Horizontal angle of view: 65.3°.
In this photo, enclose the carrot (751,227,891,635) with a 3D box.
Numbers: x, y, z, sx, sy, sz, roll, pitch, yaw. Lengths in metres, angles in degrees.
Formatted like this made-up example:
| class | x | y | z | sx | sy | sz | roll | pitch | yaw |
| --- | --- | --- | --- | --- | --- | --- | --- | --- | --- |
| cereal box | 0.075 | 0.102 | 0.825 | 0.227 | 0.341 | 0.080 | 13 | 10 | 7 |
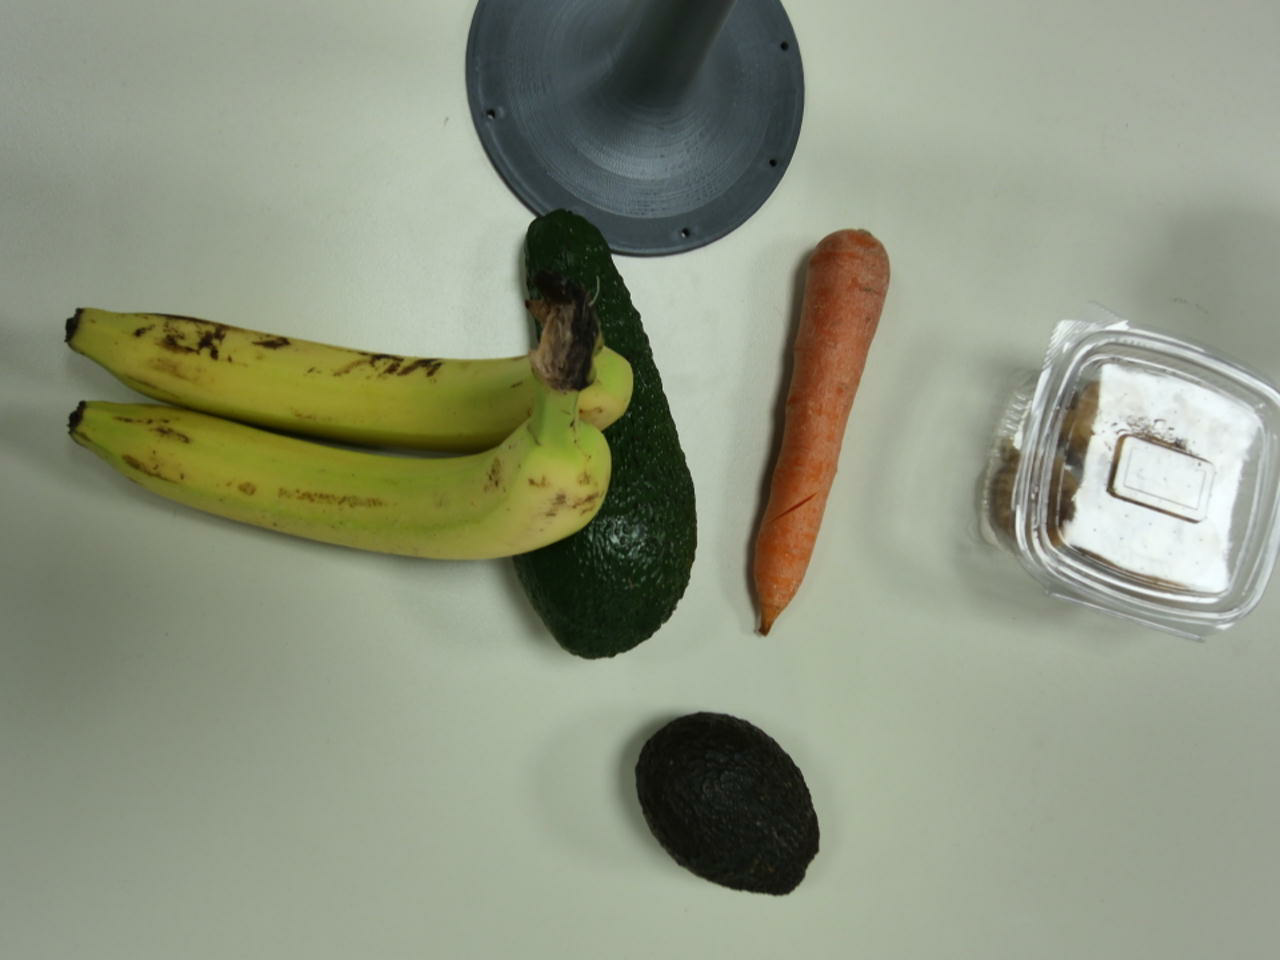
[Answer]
| class | x | y | z | sx | sy | sz | roll | pitch | yaw |
| --- | --- | --- | --- | --- | --- | --- | --- | --- | --- |
| carrot | 0.083 | -0.021 | 0.470 | 0.039 | 0.041 | 0.196 | 11 | 88 | -12 |
